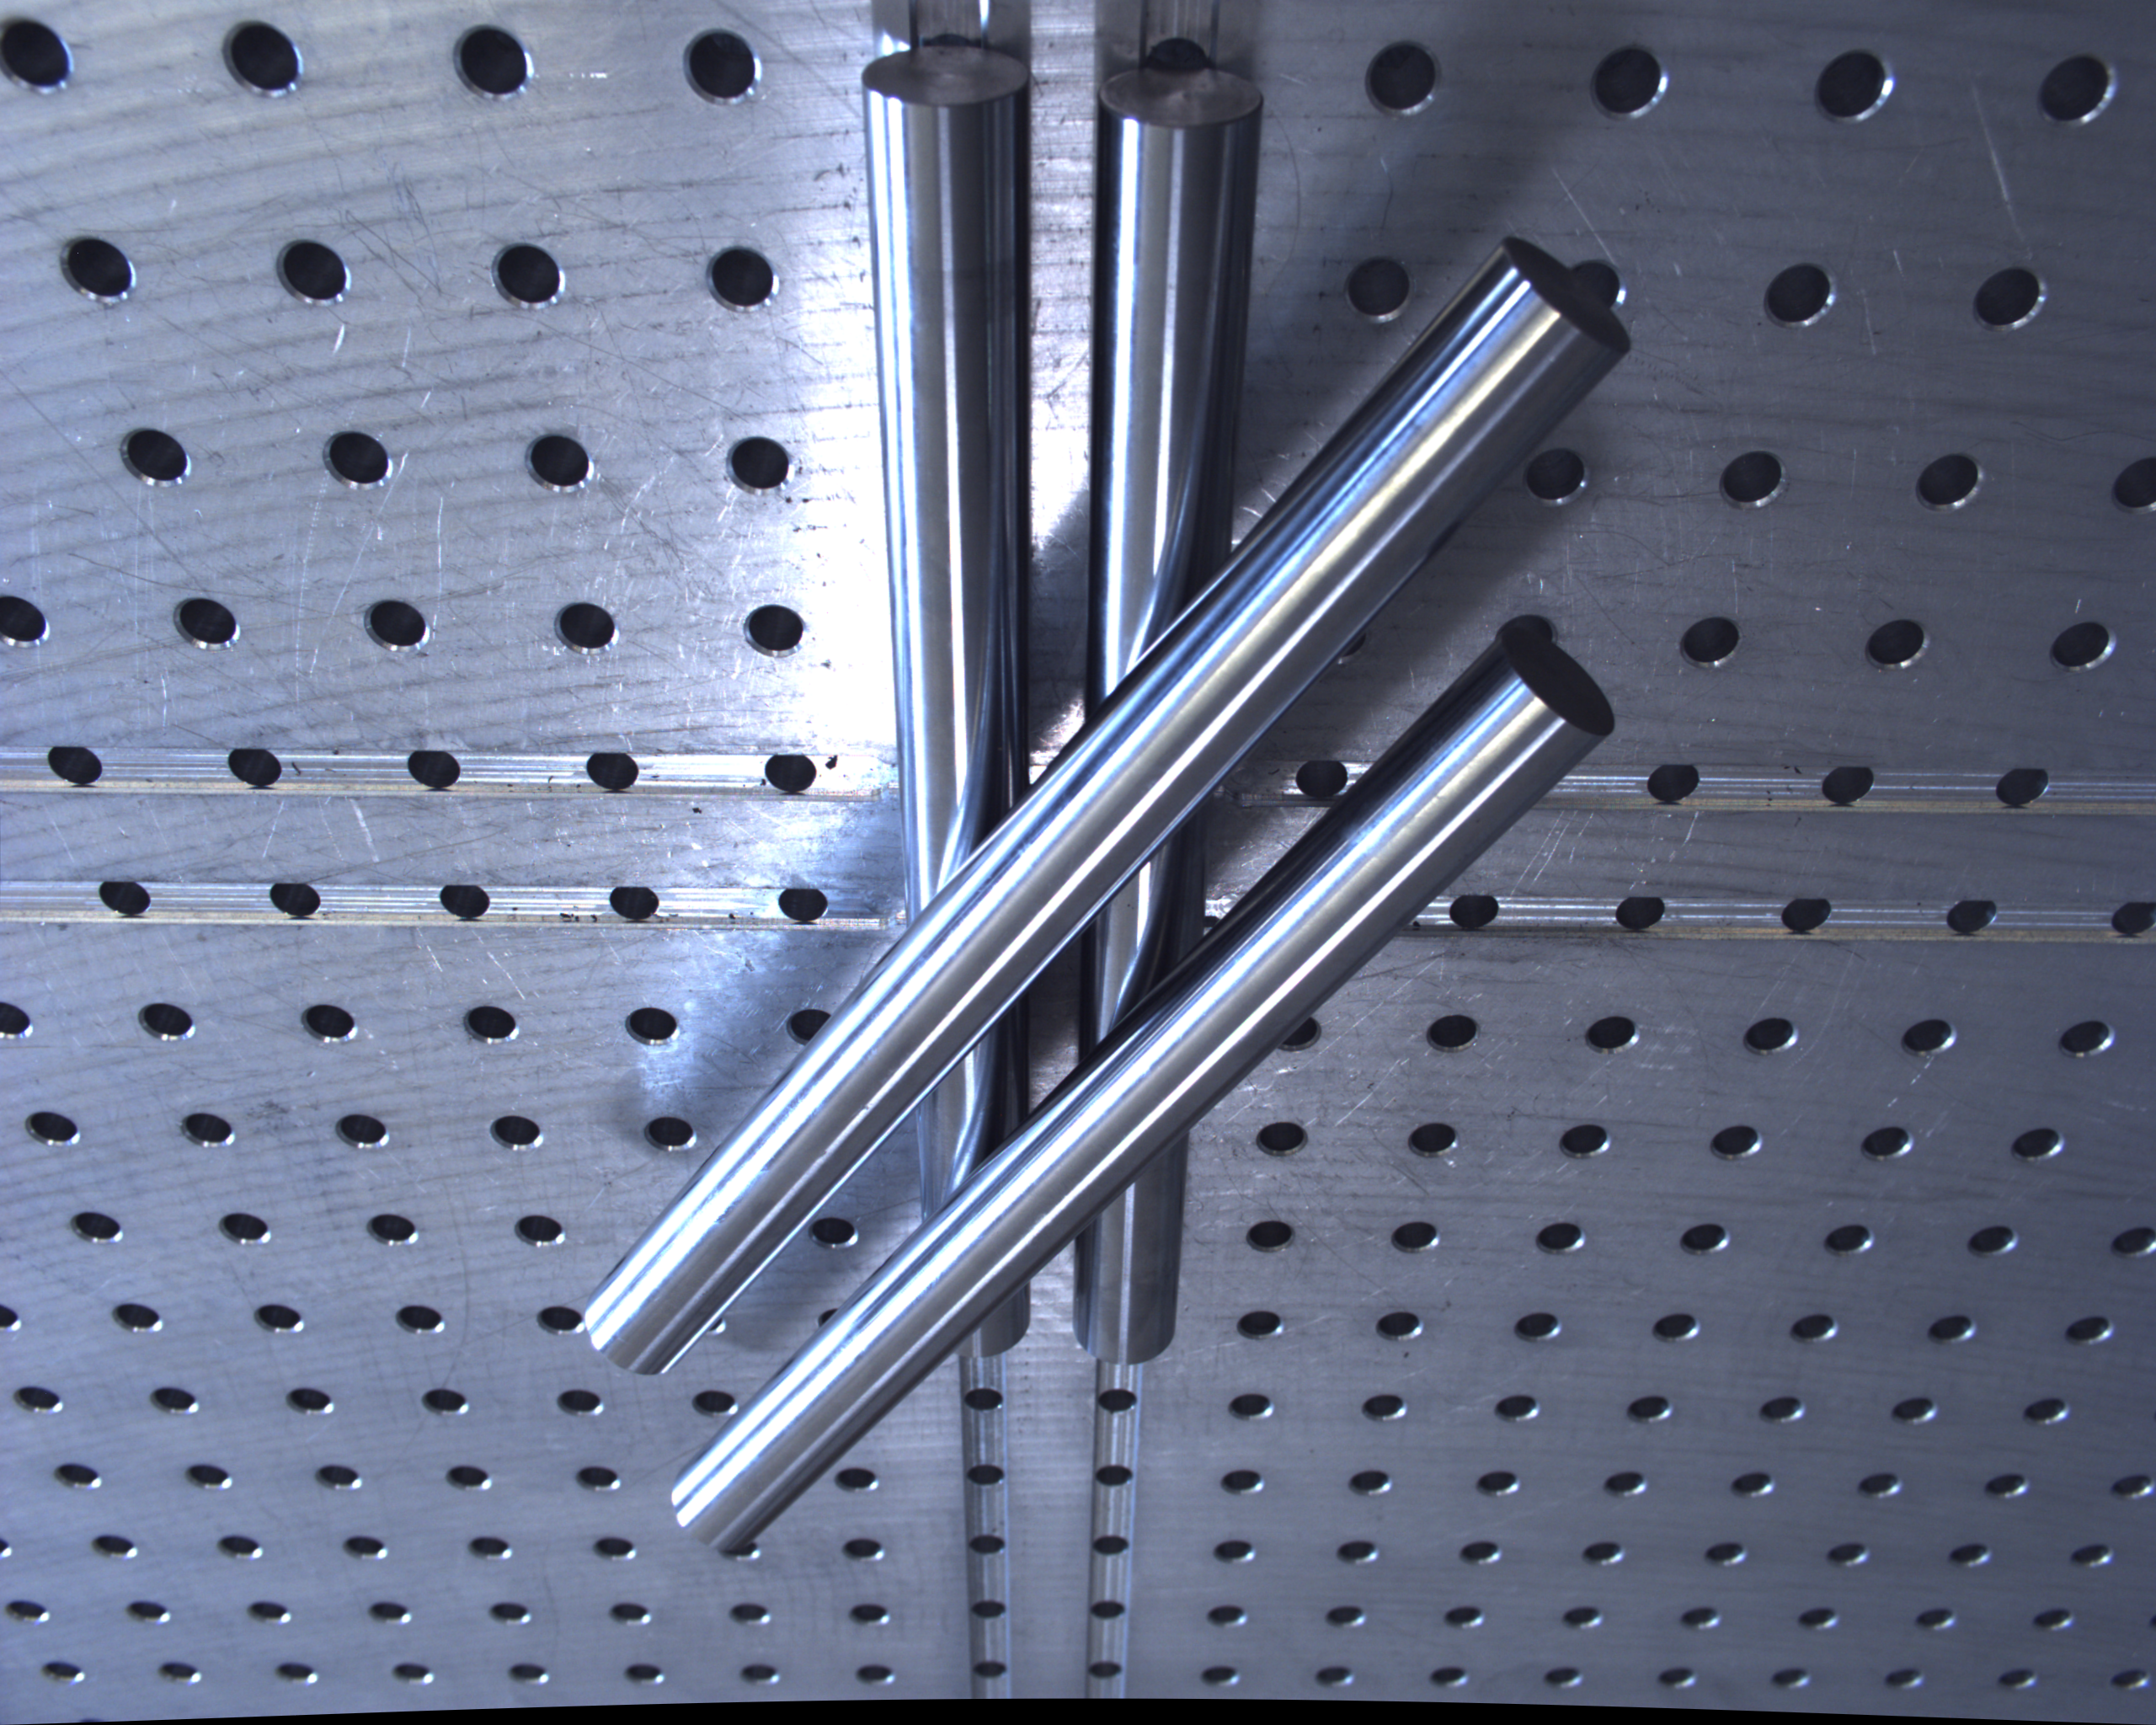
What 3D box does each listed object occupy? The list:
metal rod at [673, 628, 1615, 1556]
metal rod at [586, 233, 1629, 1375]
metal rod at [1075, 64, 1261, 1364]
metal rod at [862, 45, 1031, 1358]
[{"bbox_3d":[-0.003,0.064,0.432,0.025,0.025,0.299,28,125,-22],"label":"metal rod"},{"bbox_3d":[-0.013,0.009,0.387,0.025,0.025,0.299,28,125,-22],"label":"metal rod"},{"bbox_3d":[0.013,-0.002,0.410,0.025,0.025,0.298,0,130,-1],"label":"metal rod"},{"bbox_3d":[-0.022,-0.004,0.408,0.025,0.025,0.298,0,130,-1],"label":"metal rod"}]
